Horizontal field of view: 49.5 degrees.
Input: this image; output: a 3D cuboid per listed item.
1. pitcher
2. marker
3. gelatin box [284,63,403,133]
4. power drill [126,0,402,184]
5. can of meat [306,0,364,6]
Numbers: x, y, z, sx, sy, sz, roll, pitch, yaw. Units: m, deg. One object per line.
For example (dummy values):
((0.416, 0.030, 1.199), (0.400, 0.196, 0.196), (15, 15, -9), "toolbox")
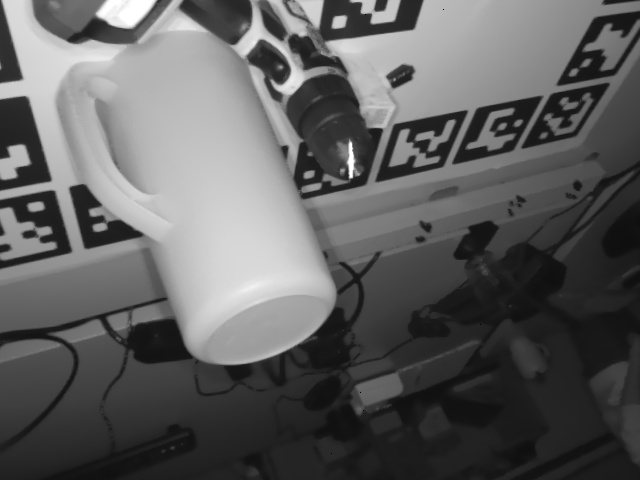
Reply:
((-0.083, -0.036, 0.533), (0.191, 0.242, 0.131), (6, 133, -50), "pitcher")
((0.056, -0.126, 0.696), (0.121, 0.019, 0.019), (-29, 147, 1), "marker")
((0.022, -0.129, 0.622), (0.091, 0.073, 0.030), (-5, 139, -28), "gelatin box")
((-0.033, -0.126, 0.483), (0.189, 0.184, 0.056), (19, 124, -42), "power drill")
((0.021, -0.215, 0.482), (0.103, 0.084, 0.057), (-13, 148, -19), "can of meat")
